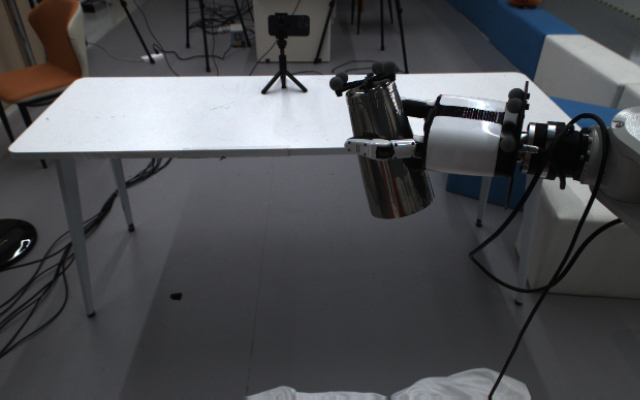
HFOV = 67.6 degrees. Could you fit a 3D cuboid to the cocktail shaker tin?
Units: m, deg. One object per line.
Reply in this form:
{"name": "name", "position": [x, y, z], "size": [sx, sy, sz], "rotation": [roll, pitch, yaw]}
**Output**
{"name": "cocktail shaker tin", "position": [0.090, -0.071, 0.653], "size": [0.093, 0.170, 0.093], "rotation": [-17, 20, 7]}
